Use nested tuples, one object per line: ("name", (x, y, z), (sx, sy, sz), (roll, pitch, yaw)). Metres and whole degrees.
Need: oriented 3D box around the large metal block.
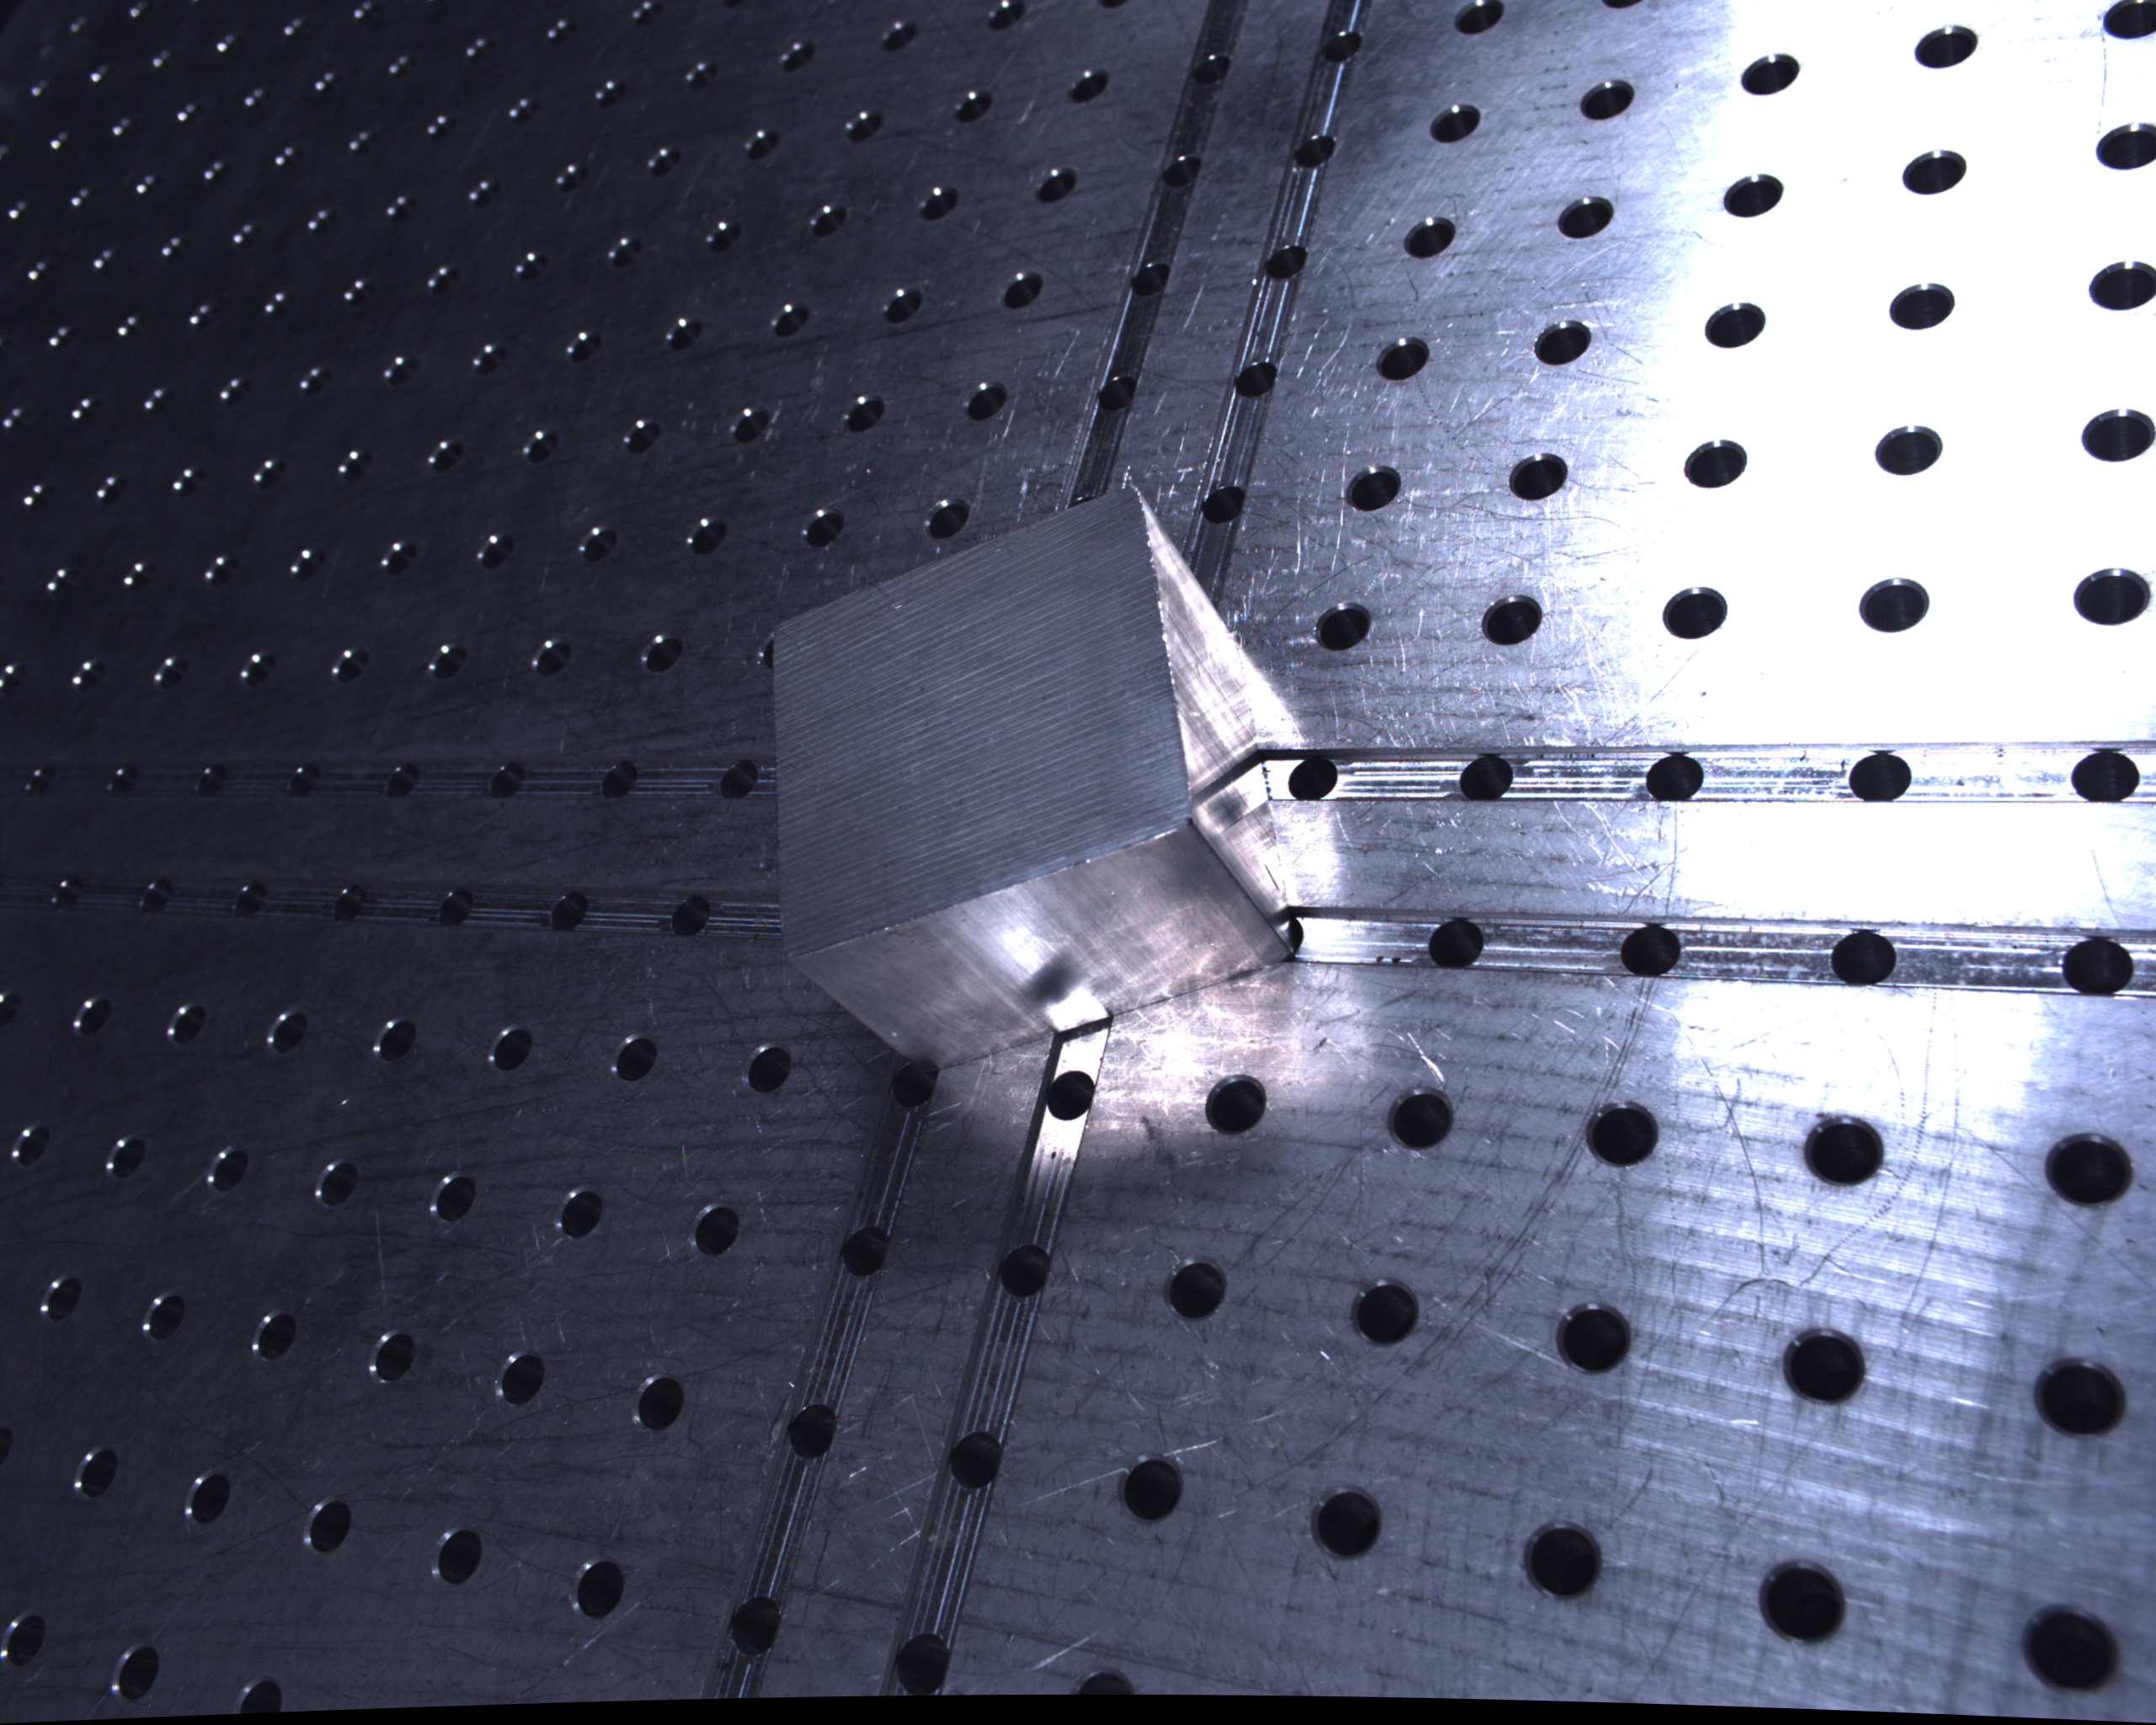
("large metal block", (-0.010, -0.015, 0.402), (0.080, 0.050, 0.080), (-19, 55, 17))
